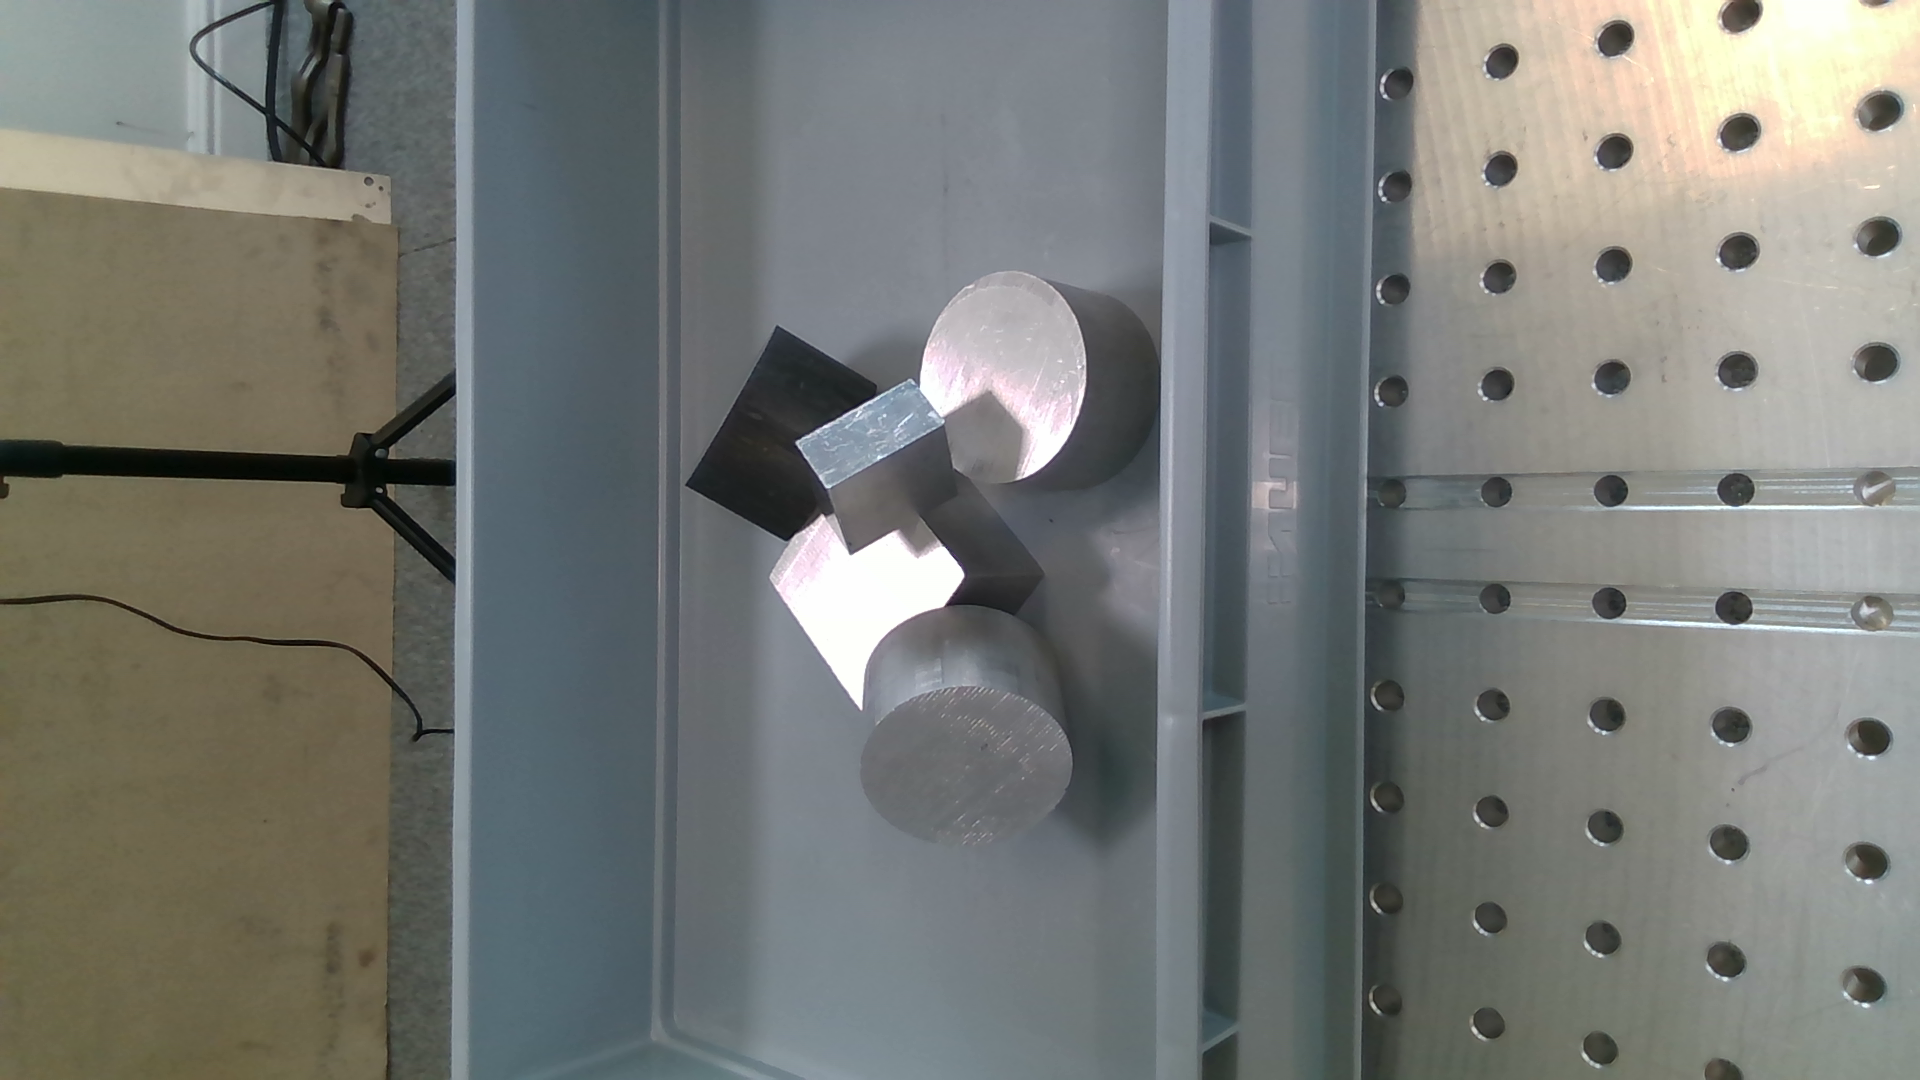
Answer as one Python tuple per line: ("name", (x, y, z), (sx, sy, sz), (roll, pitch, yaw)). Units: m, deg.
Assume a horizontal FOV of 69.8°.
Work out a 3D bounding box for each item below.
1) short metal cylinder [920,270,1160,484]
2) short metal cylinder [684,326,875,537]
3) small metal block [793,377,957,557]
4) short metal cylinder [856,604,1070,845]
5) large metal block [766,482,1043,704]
("short metal cylinder", (0.031, -0.061, 0.538), (0.080, 0.050, 0.080), (0, 91, 40))
("short metal cylinder", (-0.079, -0.047, 0.604), (0.050, 0.080, 0.080), (30, 110, -12))
("small metal block", (-0.031, -0.027, 0.526), (0.050, 0.050, 0.025), (-30, 61, -10))
("short metal cylinder", (0.000, 0.072, 0.536), (0.080, 0.080, 0.050), (-54, 20, 27))
("large metal block", (-0.025, 0.015, 0.583), (0.080, 0.050, 0.080), (52, 121, 27))
